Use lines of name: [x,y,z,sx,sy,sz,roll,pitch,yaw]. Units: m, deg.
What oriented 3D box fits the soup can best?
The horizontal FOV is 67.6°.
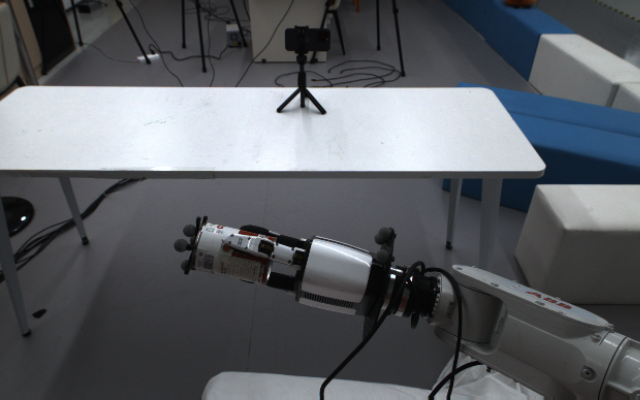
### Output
soup can: [-0.113,0.075,0.662,0.101,0.067,0.067,13,35,-1]
